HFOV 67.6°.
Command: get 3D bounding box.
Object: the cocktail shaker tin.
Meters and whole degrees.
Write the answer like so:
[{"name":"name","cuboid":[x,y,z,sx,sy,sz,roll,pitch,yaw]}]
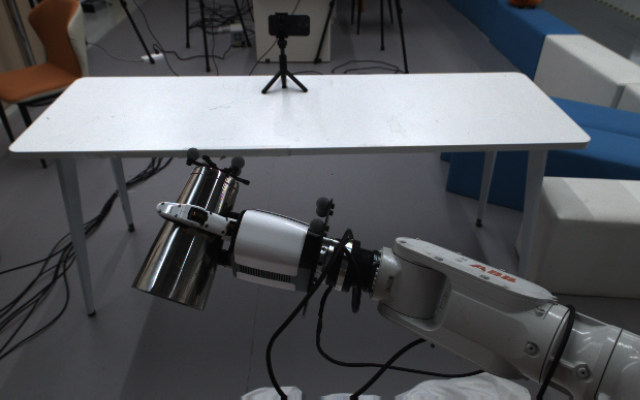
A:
[{"name":"cocktail shaker tin","cuboid":[-0.166,0.046,0.623,0.093,0.093,0.170,13,70,15]}]
